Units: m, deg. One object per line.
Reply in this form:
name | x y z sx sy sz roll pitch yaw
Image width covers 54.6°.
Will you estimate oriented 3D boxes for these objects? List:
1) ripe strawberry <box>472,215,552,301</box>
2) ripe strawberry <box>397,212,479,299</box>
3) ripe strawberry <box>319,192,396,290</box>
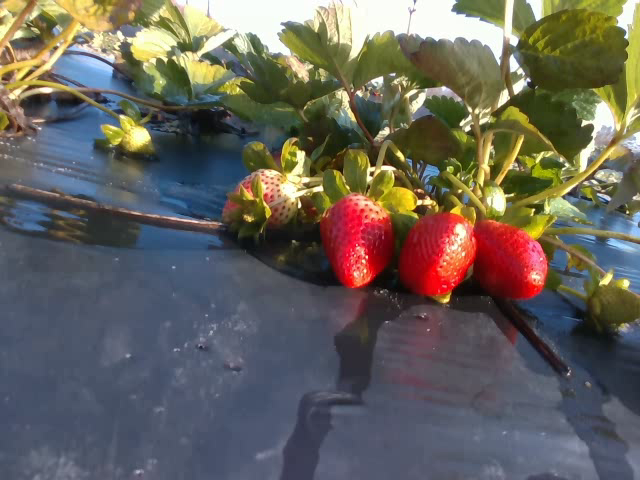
ripe strawberry | 0.070 0.010 0.220 0.035 0.034 0.041 9 4 -4
ripe strawberry | 0.042 0.001 0.215 0.030 0.037 0.039 21 -9 4
ripe strawberry | 0.013 0.000 0.219 0.031 0.023 0.046 13 40 -2
